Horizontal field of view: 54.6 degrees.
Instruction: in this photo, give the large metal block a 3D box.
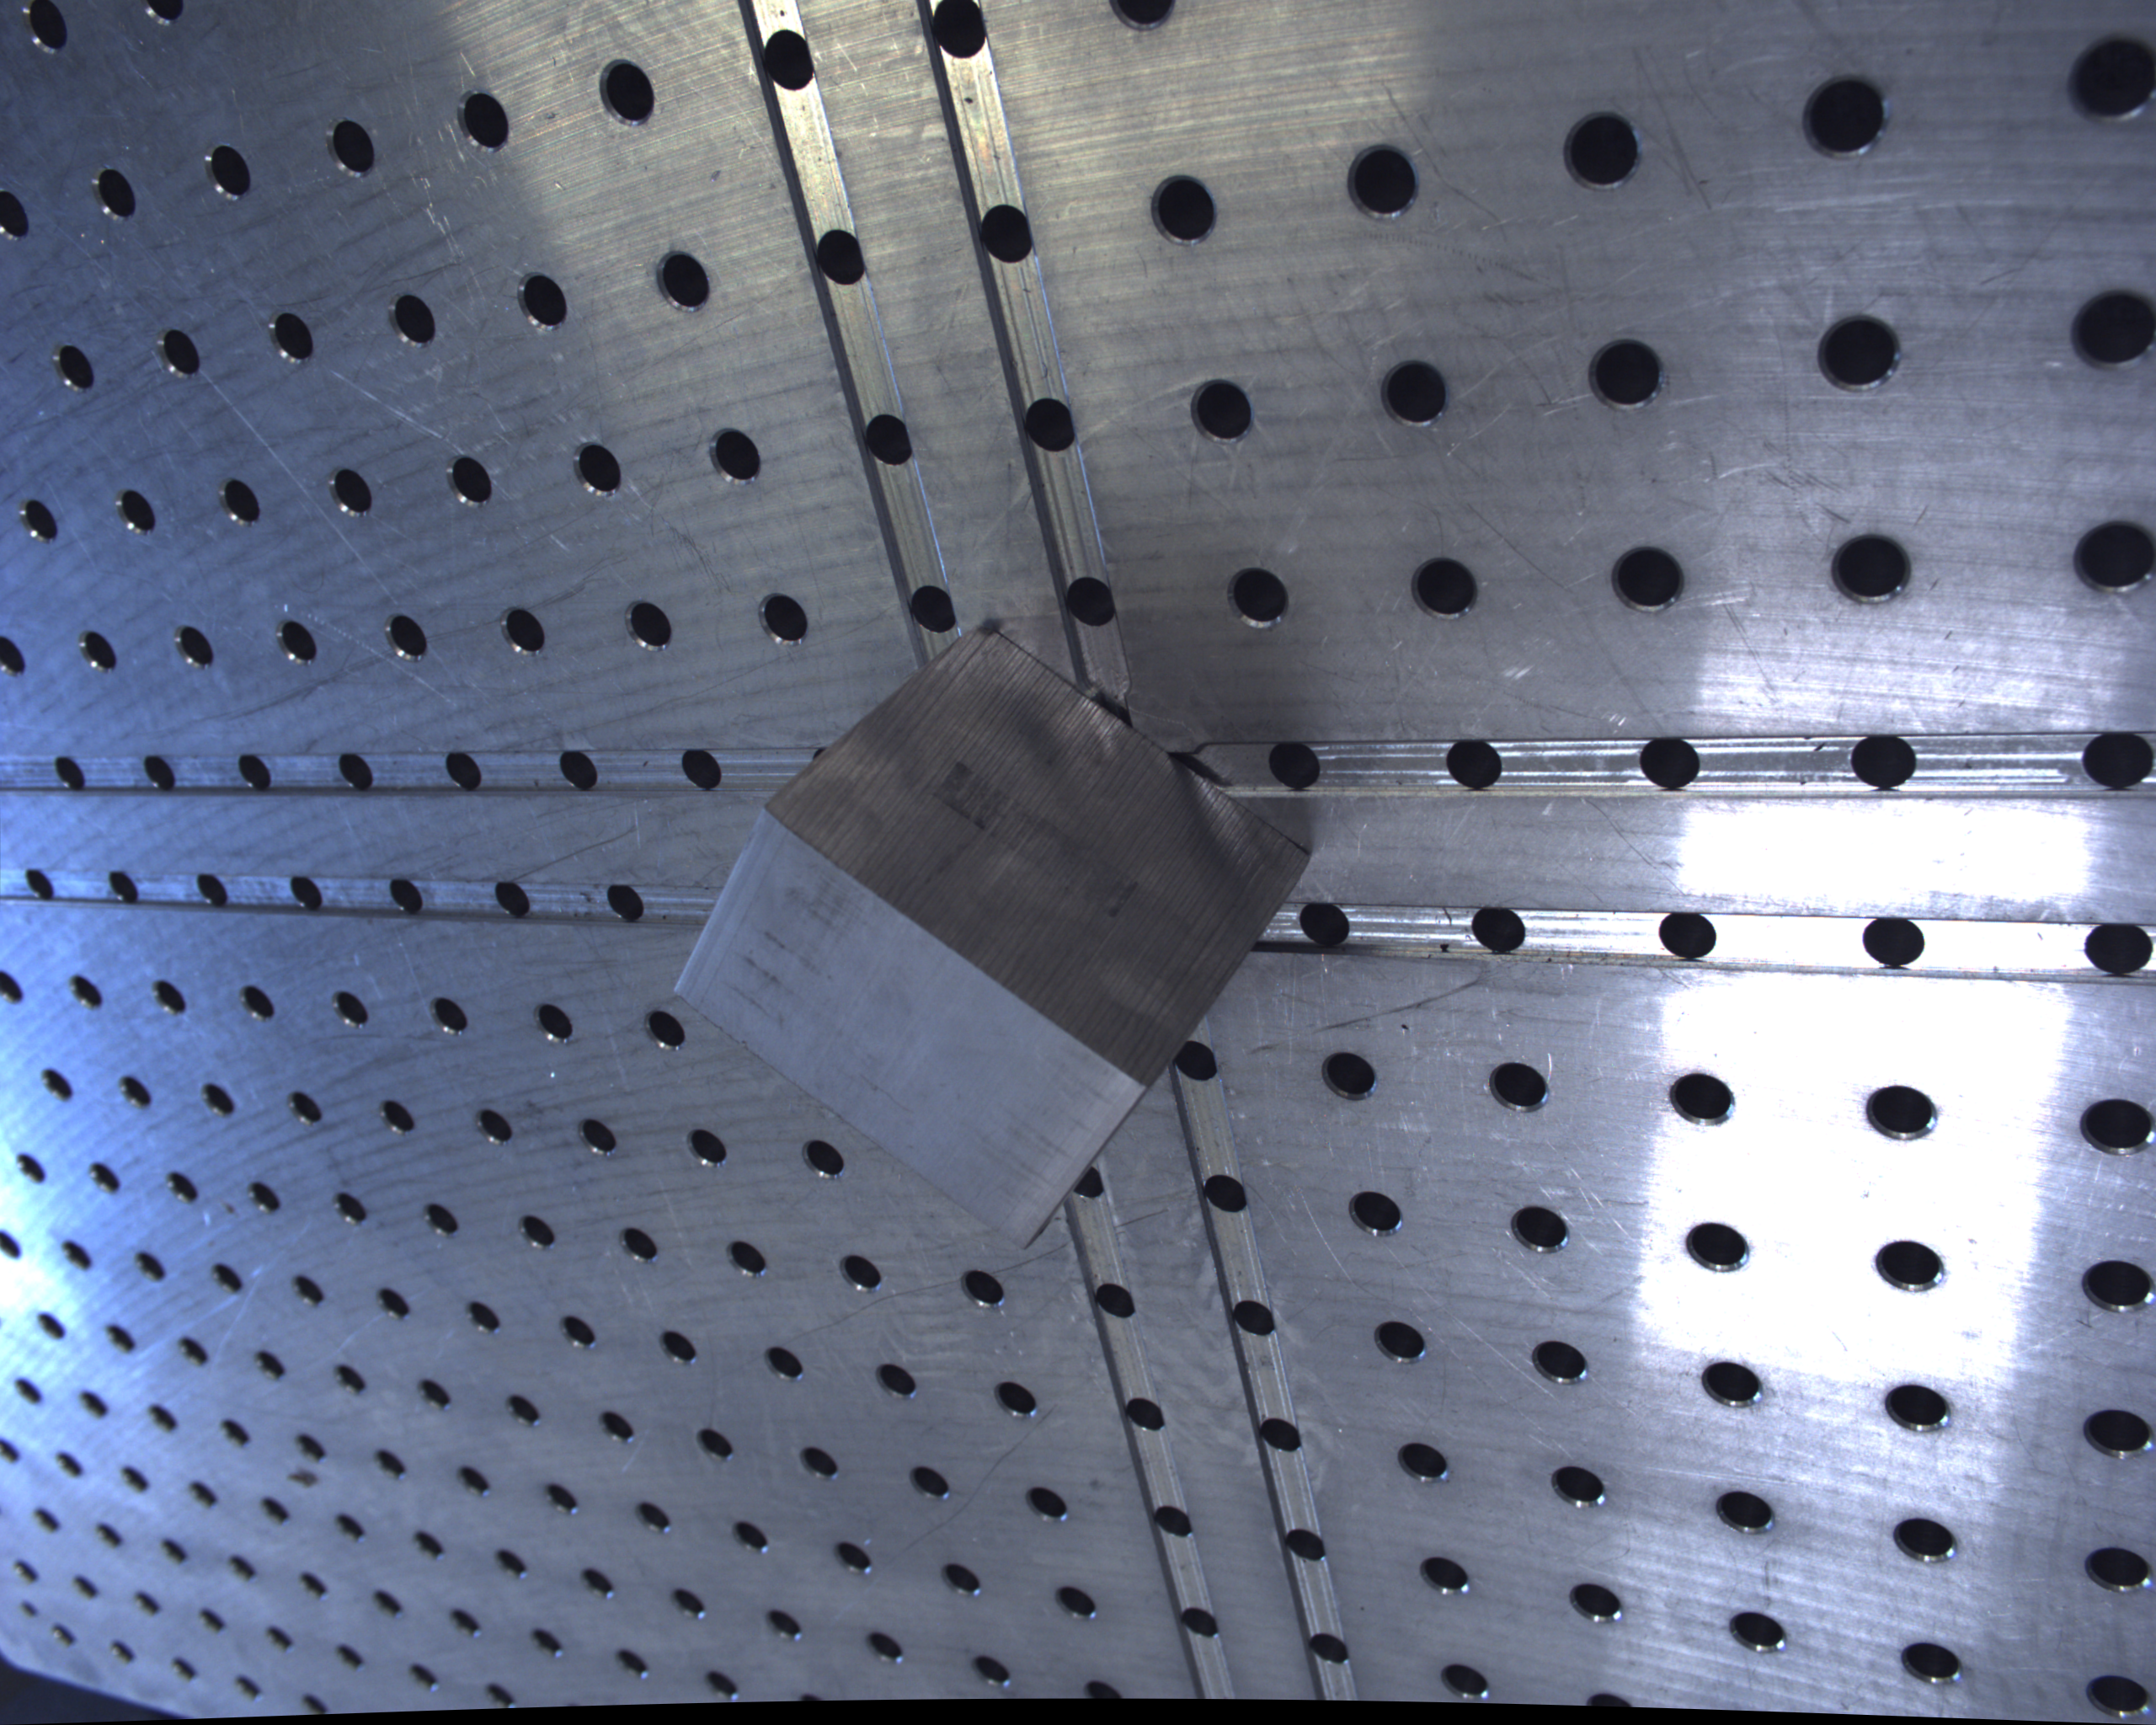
[{"bbox_3d":[-0.014,0.011,0.390,0.080,0.080,0.050,35,129,4],"label":"large metal block"}]
